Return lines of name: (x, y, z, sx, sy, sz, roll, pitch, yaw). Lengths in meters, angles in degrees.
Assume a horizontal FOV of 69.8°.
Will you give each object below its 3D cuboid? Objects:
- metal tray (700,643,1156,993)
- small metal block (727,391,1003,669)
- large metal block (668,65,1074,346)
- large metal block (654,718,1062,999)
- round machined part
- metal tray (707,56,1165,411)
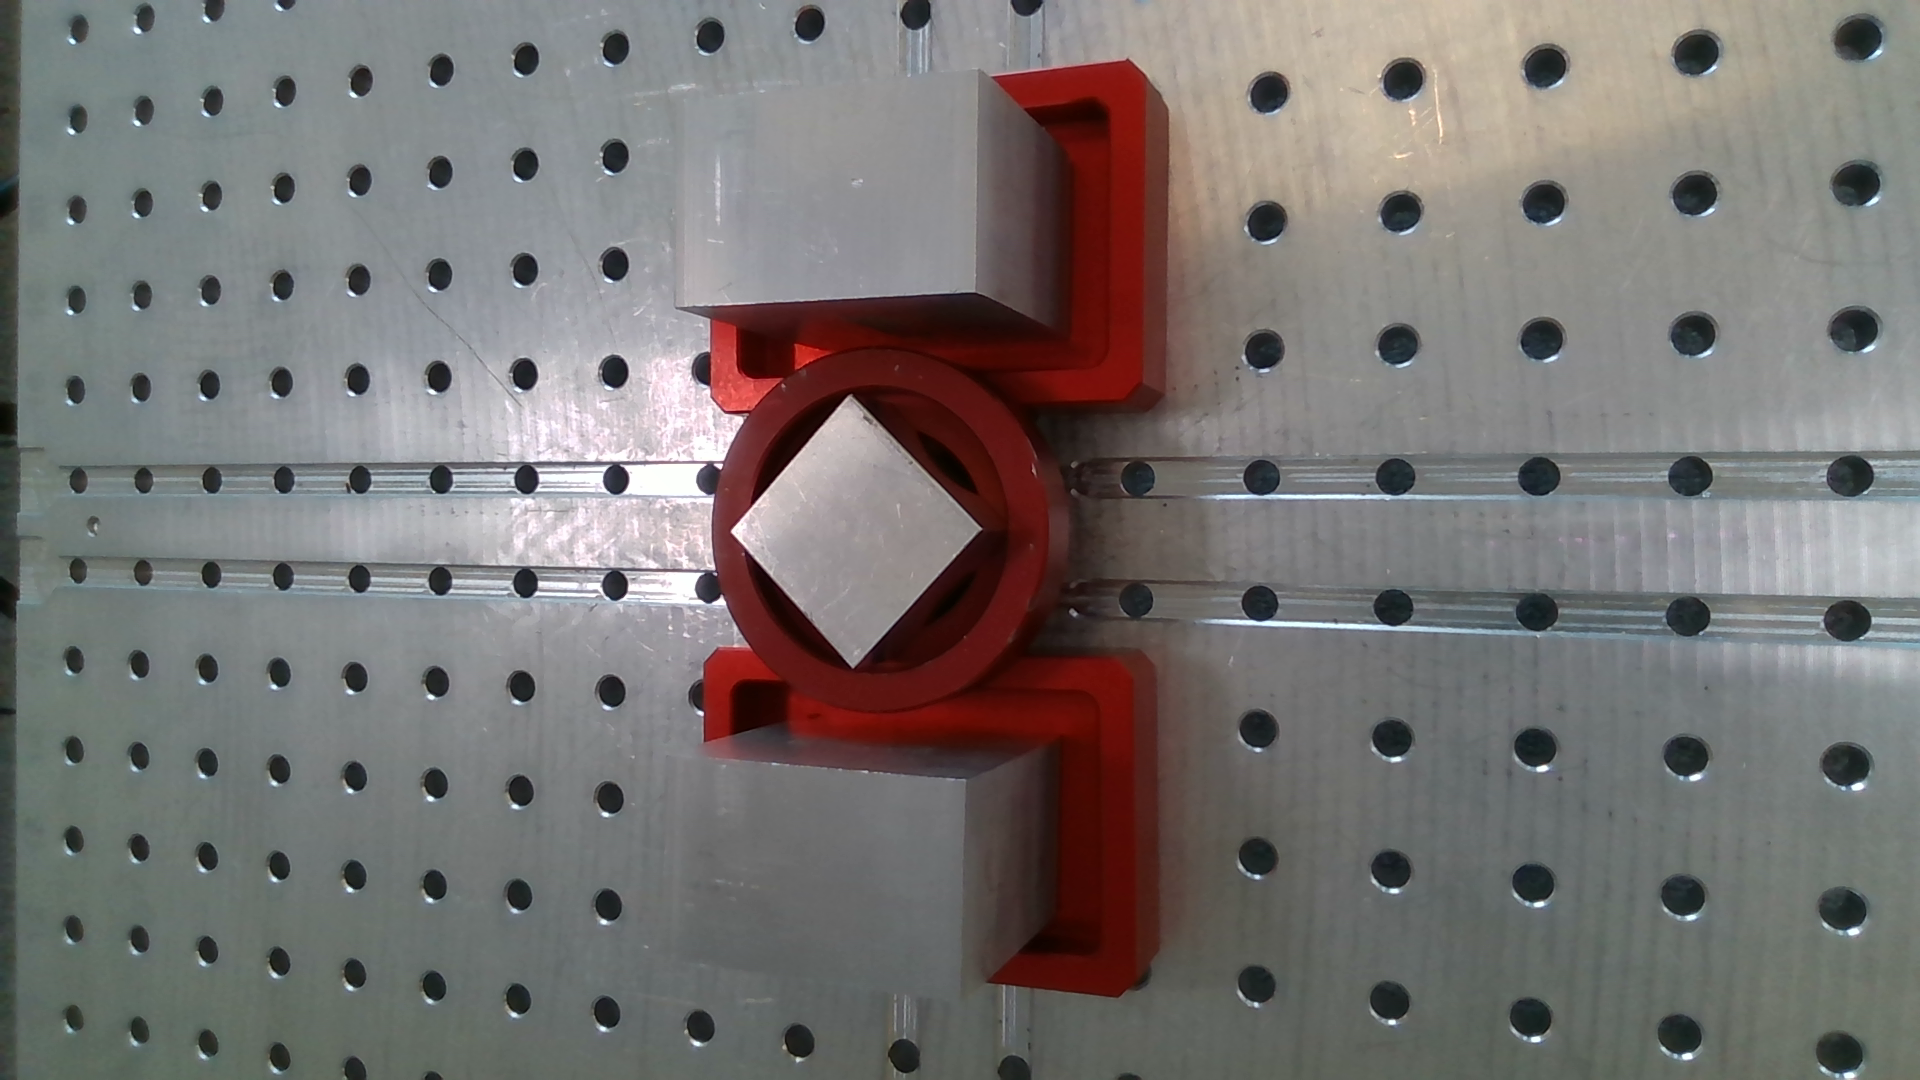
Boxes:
metal tray: (-0.011, 0.075, 0.397, 0.130, 0.030, 0.090, 0, 90, 20)
small metal block: (-0.024, -0.003, 0.362, 0.050, 0.025, 0.050, 46, 105, 14)
large metal block: (-0.020, -0.082, 0.360, 0.080, 0.080, 0.050, 1, 90, 20)
large metal block: (-0.023, 0.078, 0.362, 0.080, 0.080, 0.050, 1, 91, 20)
round machined part: (-0.017, -0.003, 0.384, 0.098, 0.042, 0.098, 0, 90, 20)
metal tray: (-0.008, -0.083, 0.395, 0.130, 0.030, 0.090, 1, 90, 20)
